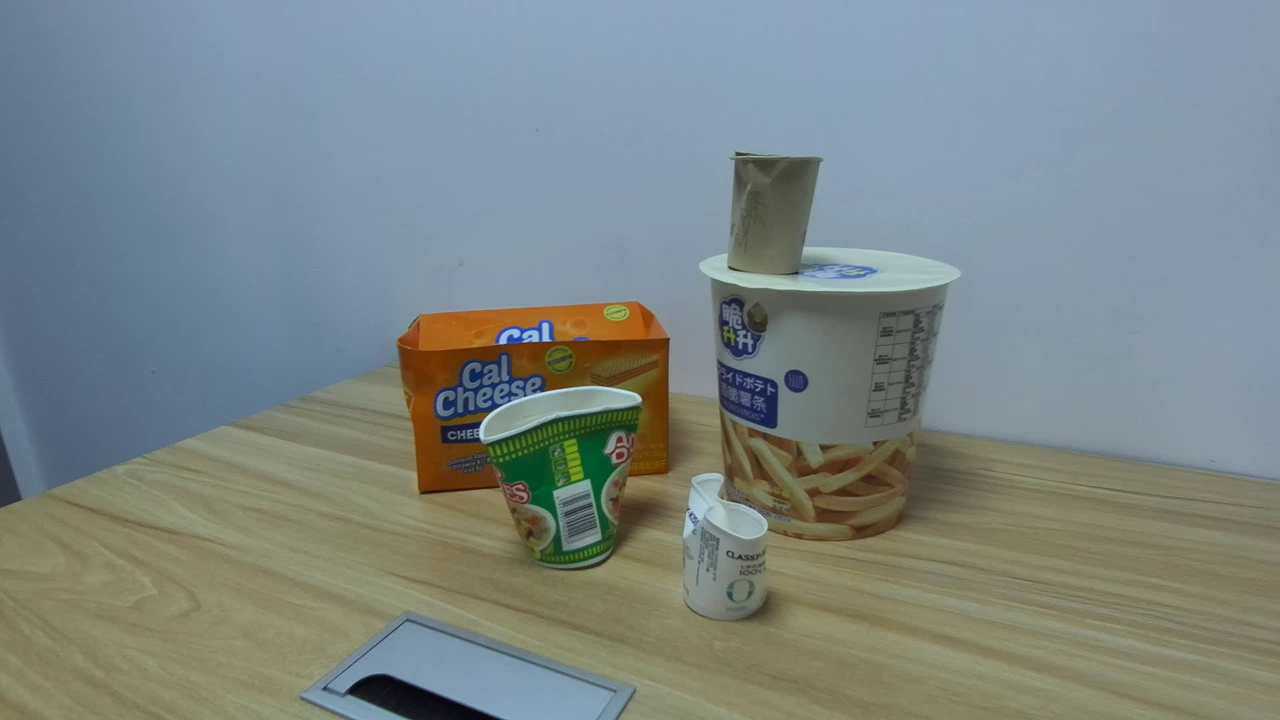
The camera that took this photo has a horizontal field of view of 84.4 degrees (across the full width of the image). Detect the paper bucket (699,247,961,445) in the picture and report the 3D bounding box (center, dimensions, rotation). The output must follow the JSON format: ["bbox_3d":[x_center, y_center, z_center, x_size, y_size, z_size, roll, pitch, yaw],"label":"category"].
[{"bbox_3d":[0.141,0.020,0.560,0.198,0.194,0.198,-1,18,0],"label":"paper bucket"}]

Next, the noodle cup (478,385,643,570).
[{"bbox_3d":[-0.050,0.082,0.502,0.115,0.111,0.070,-4,19,-12],"label":"noodle cup"}]

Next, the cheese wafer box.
[{"bbox_3d":[-0.096,0.029,0.661,0.231,0.132,0.152,-3,18,-9],"label":"cheese wafer box"}]

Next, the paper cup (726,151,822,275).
[{"bbox_3d":[0.097,-0.107,0.516,0.072,0.084,0.066,1,16,-6],"label":"paper cup"}]
